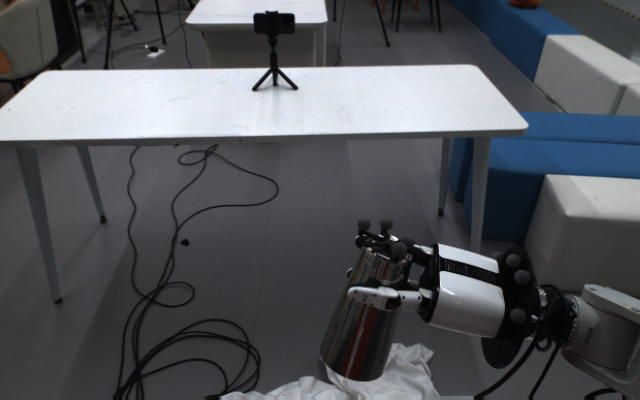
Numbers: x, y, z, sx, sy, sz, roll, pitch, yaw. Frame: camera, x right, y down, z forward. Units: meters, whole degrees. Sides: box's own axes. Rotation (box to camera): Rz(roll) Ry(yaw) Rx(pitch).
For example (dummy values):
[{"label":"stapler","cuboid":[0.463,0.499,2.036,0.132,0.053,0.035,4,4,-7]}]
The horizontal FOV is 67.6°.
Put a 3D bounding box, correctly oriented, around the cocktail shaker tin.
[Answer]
[{"label":"cocktail shaker tin","cuboid":[0.067,0.137,0.641,0.093,0.170,0.093,14,18,-5]}]
